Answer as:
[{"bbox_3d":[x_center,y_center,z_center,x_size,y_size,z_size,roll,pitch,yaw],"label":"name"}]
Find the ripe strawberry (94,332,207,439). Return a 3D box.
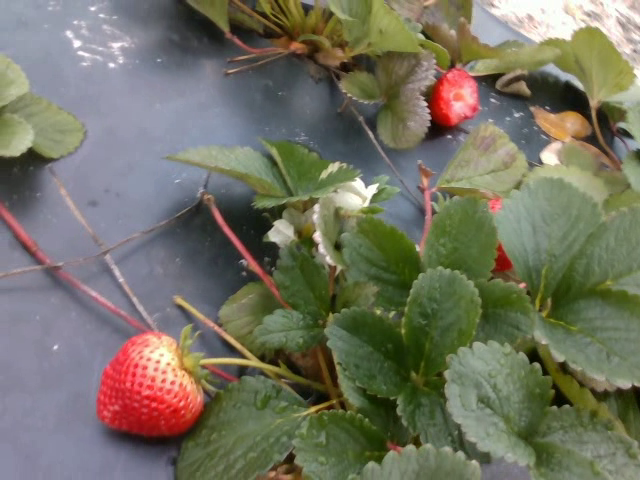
[{"bbox_3d":[-0.095,0.078,0.326,0.064,0.062,0.050,-41,-3,-2],"label":"ripe strawberry"}]
